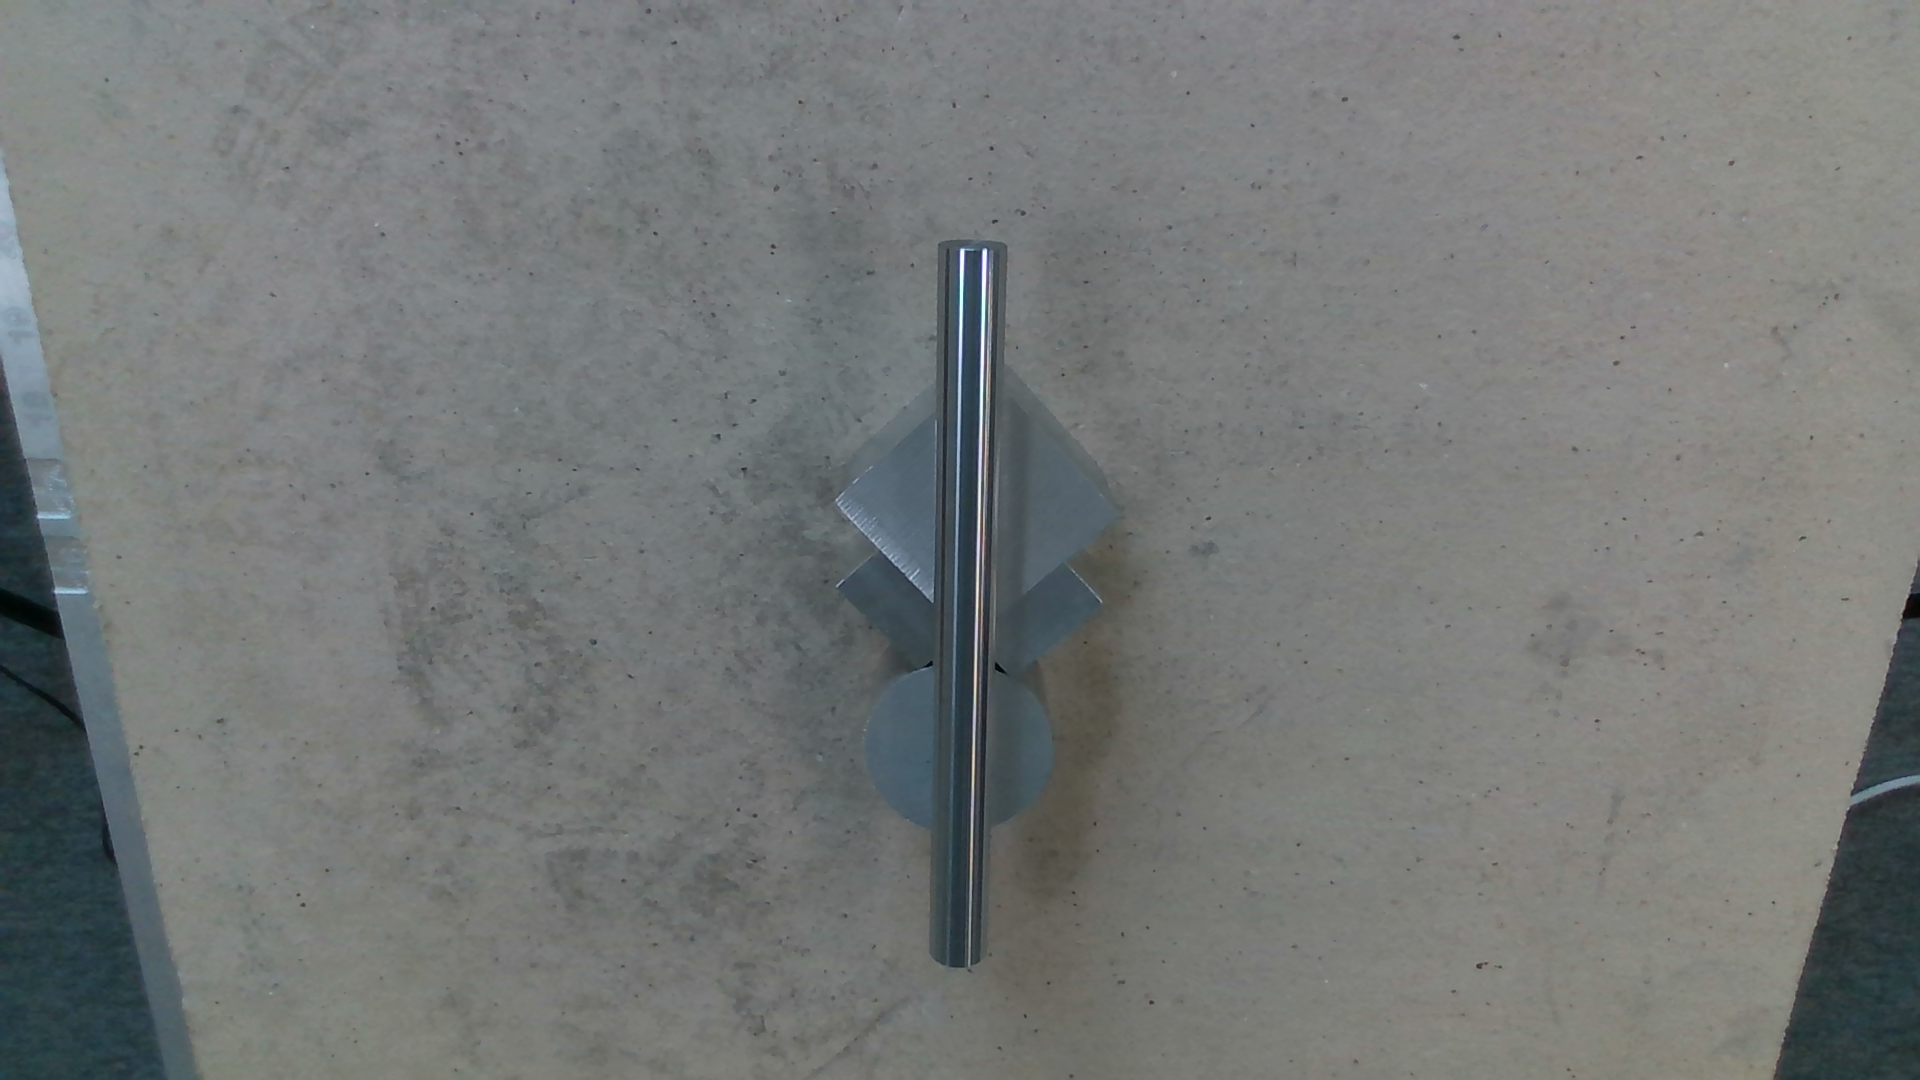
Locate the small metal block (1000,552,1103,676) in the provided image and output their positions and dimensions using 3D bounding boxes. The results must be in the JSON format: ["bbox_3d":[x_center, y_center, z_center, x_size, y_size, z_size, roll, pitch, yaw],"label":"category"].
[{"bbox_3d":[0.031,0.023,0.581,0.050,0.050,0.025,-41,105,14],"label":"small metal block"}]

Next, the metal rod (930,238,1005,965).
[{"bbox_3d":[0.001,0.035,0.543,0.025,0.025,0.301,1,110,0],"label":"metal rod"}]

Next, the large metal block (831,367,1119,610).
[{"bbox_3d":[0.006,-0.022,0.562,0.080,0.050,0.080,-40,105,13],"label":"large metal block"}]

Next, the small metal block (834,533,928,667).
[{"bbox_3d":[-0.024,0.018,0.580,0.025,0.050,0.050,-41,105,14],"label":"small metal block"}]

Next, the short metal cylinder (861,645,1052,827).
[{"bbox_3d":[-0.001,0.079,0.600,0.080,0.050,0.080,0,110,0],"label":"short metal cylinder"}]
